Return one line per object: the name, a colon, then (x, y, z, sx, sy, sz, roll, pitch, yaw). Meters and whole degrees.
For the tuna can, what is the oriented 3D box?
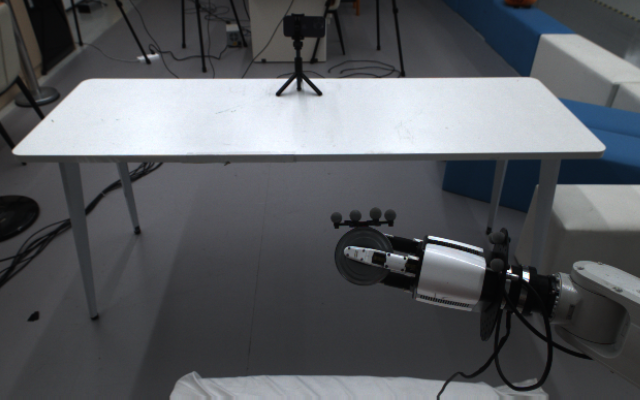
tuna can: (0.066, 0.082, 0.707, 0.085, 0.085, 0.034, 11, -9, 12)
